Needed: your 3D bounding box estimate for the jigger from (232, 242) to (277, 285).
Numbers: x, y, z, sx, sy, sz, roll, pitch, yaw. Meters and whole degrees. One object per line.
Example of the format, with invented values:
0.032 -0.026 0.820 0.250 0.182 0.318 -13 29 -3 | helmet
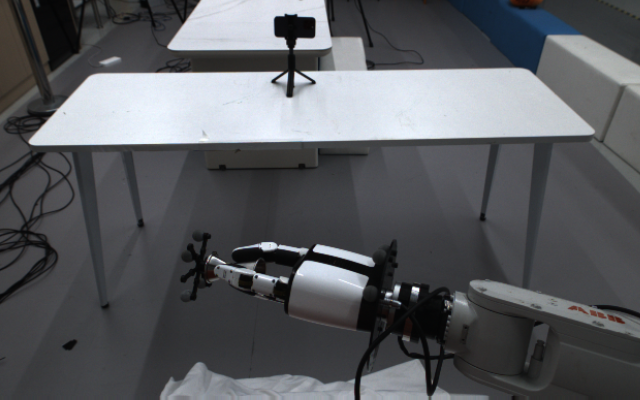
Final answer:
-0.103 0.089 0.626 0.071 0.043 0.043 6 35 14 | jigger
